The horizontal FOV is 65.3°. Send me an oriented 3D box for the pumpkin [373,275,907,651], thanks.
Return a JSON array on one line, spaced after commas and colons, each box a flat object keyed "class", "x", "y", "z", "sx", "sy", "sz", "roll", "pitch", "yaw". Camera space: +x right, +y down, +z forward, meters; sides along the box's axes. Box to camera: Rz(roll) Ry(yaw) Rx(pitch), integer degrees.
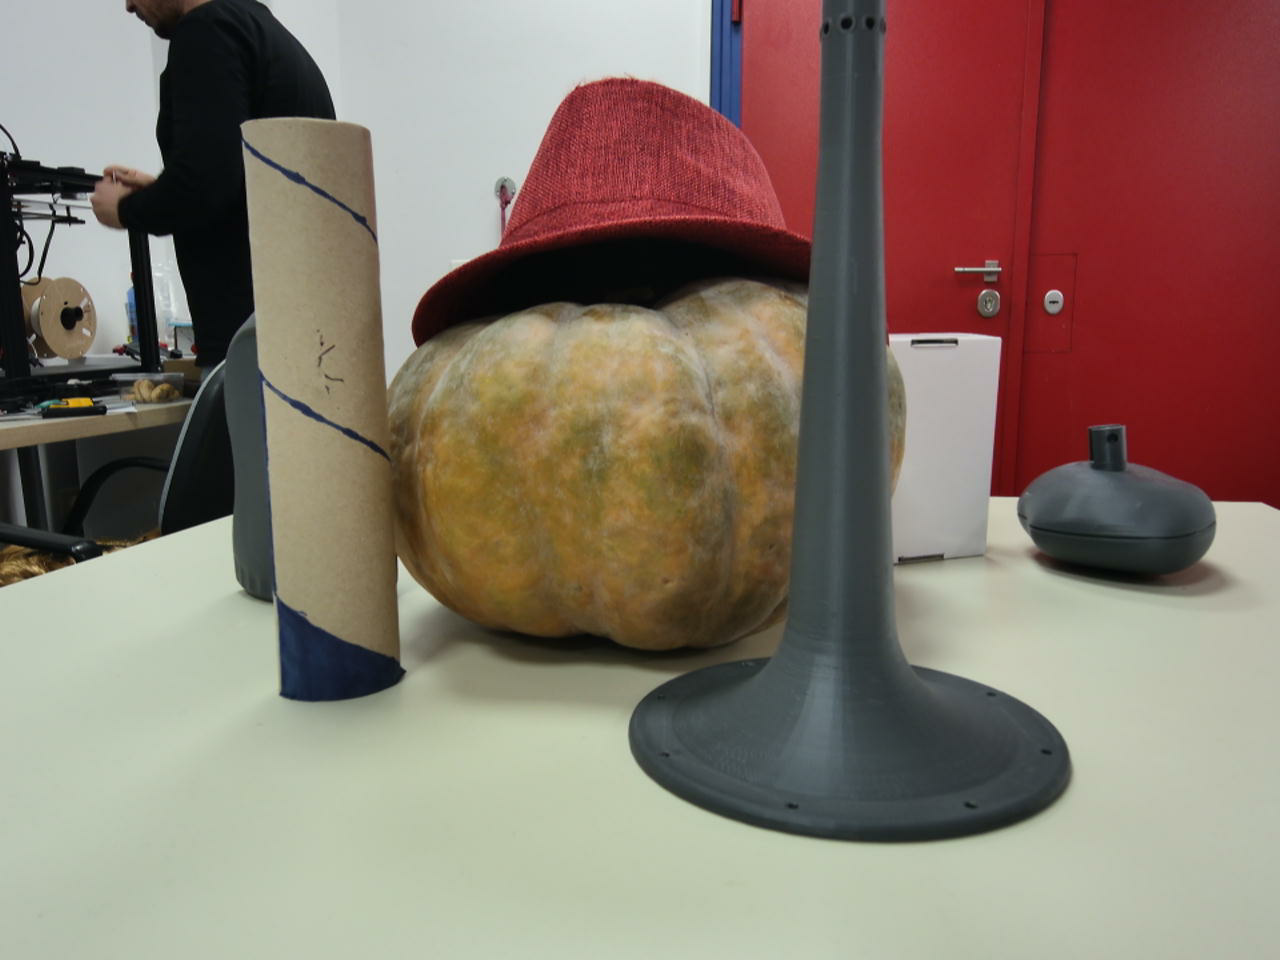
[{"class": "pumpkin", "x": -0.006, "y": -0.012, "z": 0.489, "sx": 0.252, "sy": 0.168, "sz": 0.252, "roll": 0, "pitch": 6, "yaw": 0}]
